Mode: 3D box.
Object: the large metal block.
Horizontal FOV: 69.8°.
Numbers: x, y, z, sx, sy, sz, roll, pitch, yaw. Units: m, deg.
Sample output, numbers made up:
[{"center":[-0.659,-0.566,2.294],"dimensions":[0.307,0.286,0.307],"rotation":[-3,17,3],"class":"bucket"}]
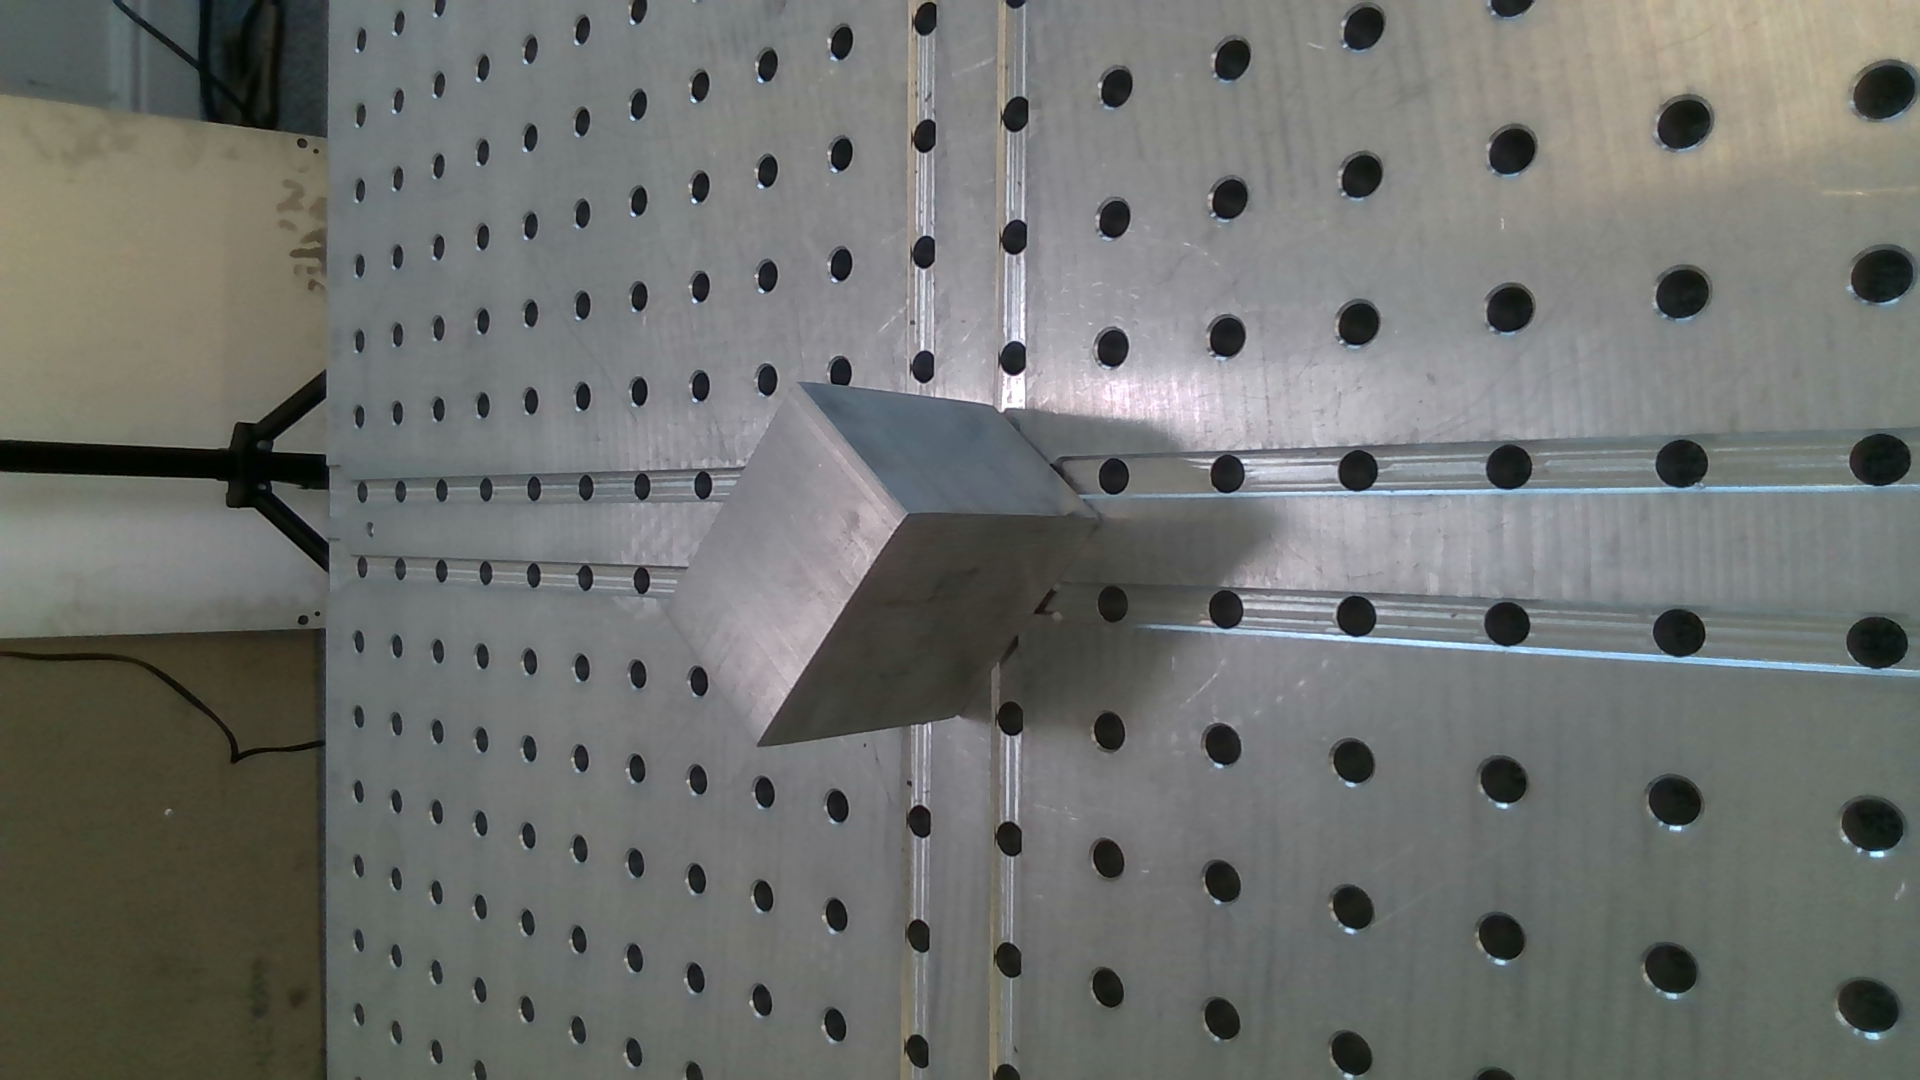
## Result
[{"center":[-0.021,0.006,0.375],"dimensions":[0.050,0.080,0.080],"rotation":[49,120,29],"class":"large metal block"}]
